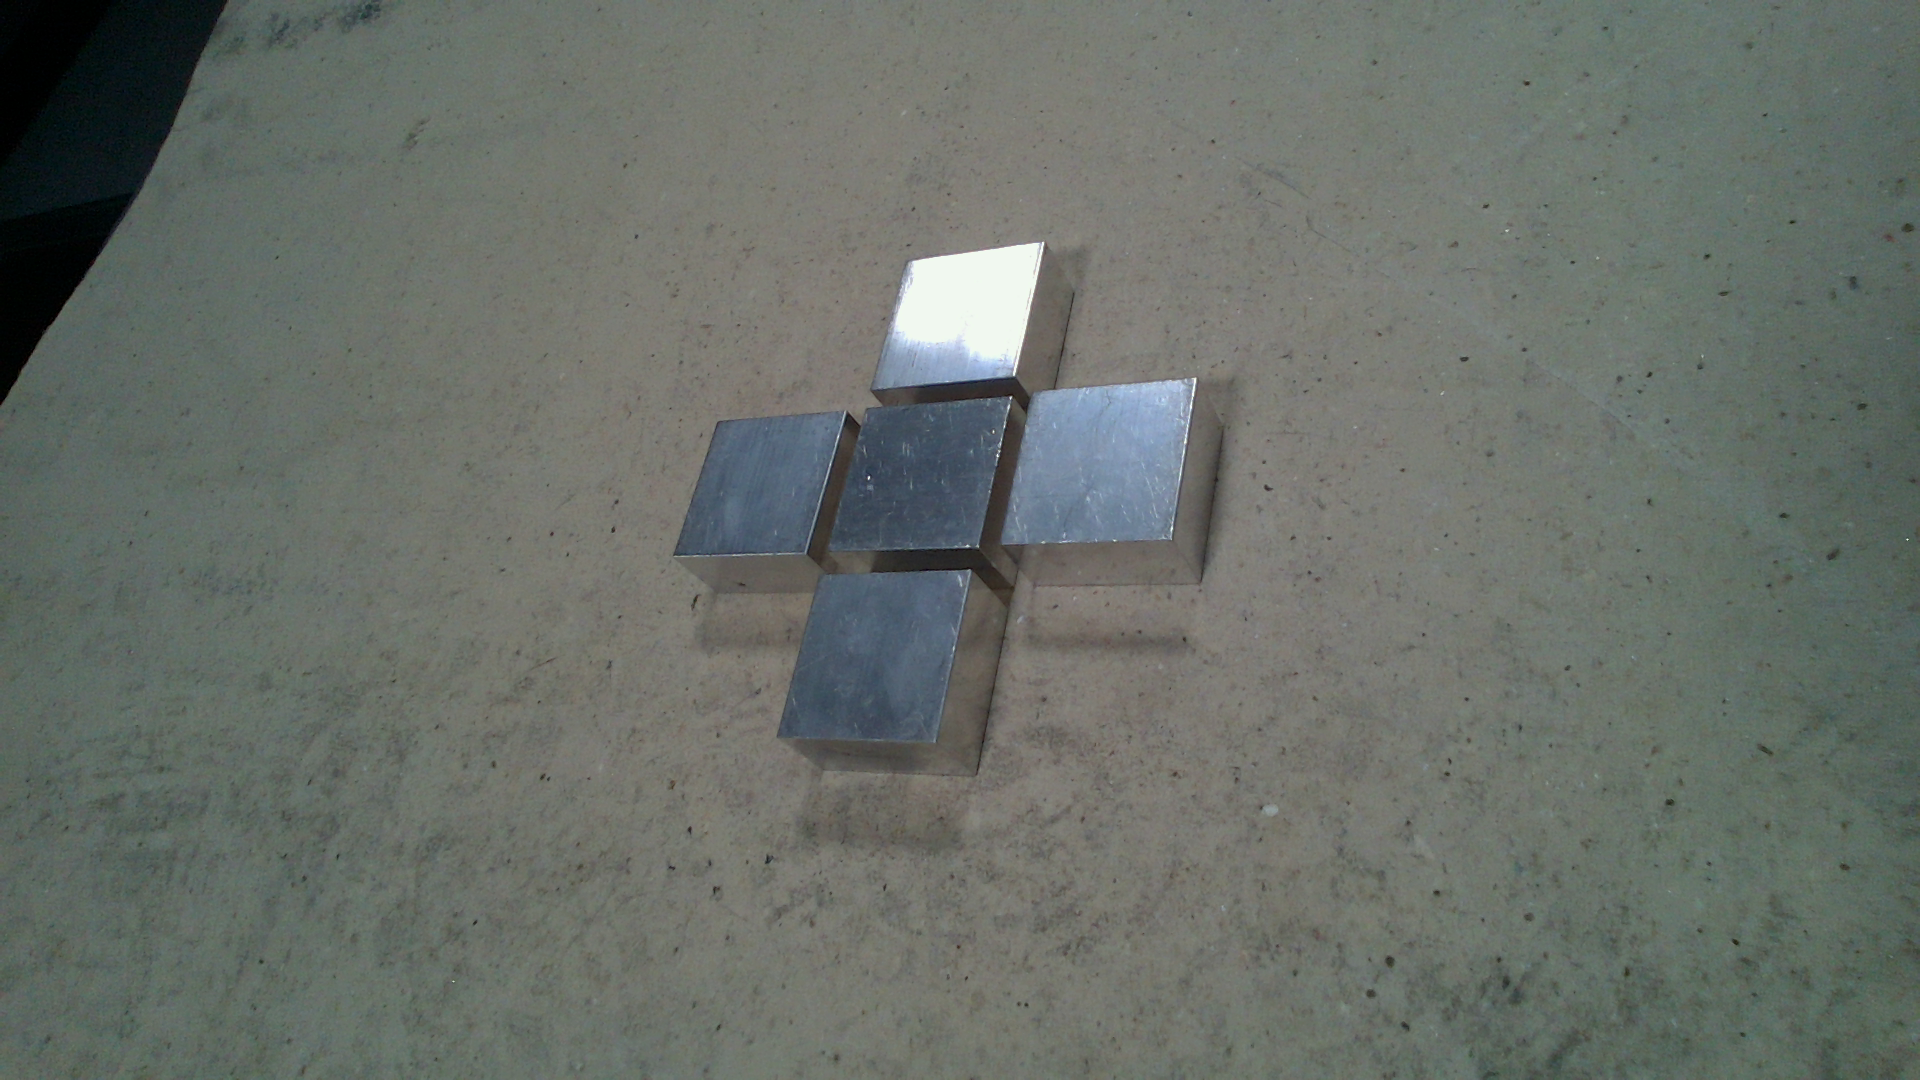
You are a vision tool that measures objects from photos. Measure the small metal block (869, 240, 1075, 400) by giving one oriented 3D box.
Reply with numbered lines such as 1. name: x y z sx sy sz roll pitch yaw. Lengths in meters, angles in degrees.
1. small metal block: 0.004 -0.063 0.431 0.050 0.025 0.050 -2 61 28

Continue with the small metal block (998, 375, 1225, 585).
1. small metal block: 0.043 -0.016 0.381 0.050 0.025 0.050 -2 61 28

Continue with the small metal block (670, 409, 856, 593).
1. small metal block: -0.057 -0.011 0.432 0.050 0.025 0.050 -2 61 28

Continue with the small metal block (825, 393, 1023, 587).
1. small metal block: -0.007 -0.014 0.406 0.050 0.025 0.050 -2 61 28

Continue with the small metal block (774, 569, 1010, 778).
1. small metal block: -0.018 0.037 0.381 0.050 0.025 0.050 -2 60 27
